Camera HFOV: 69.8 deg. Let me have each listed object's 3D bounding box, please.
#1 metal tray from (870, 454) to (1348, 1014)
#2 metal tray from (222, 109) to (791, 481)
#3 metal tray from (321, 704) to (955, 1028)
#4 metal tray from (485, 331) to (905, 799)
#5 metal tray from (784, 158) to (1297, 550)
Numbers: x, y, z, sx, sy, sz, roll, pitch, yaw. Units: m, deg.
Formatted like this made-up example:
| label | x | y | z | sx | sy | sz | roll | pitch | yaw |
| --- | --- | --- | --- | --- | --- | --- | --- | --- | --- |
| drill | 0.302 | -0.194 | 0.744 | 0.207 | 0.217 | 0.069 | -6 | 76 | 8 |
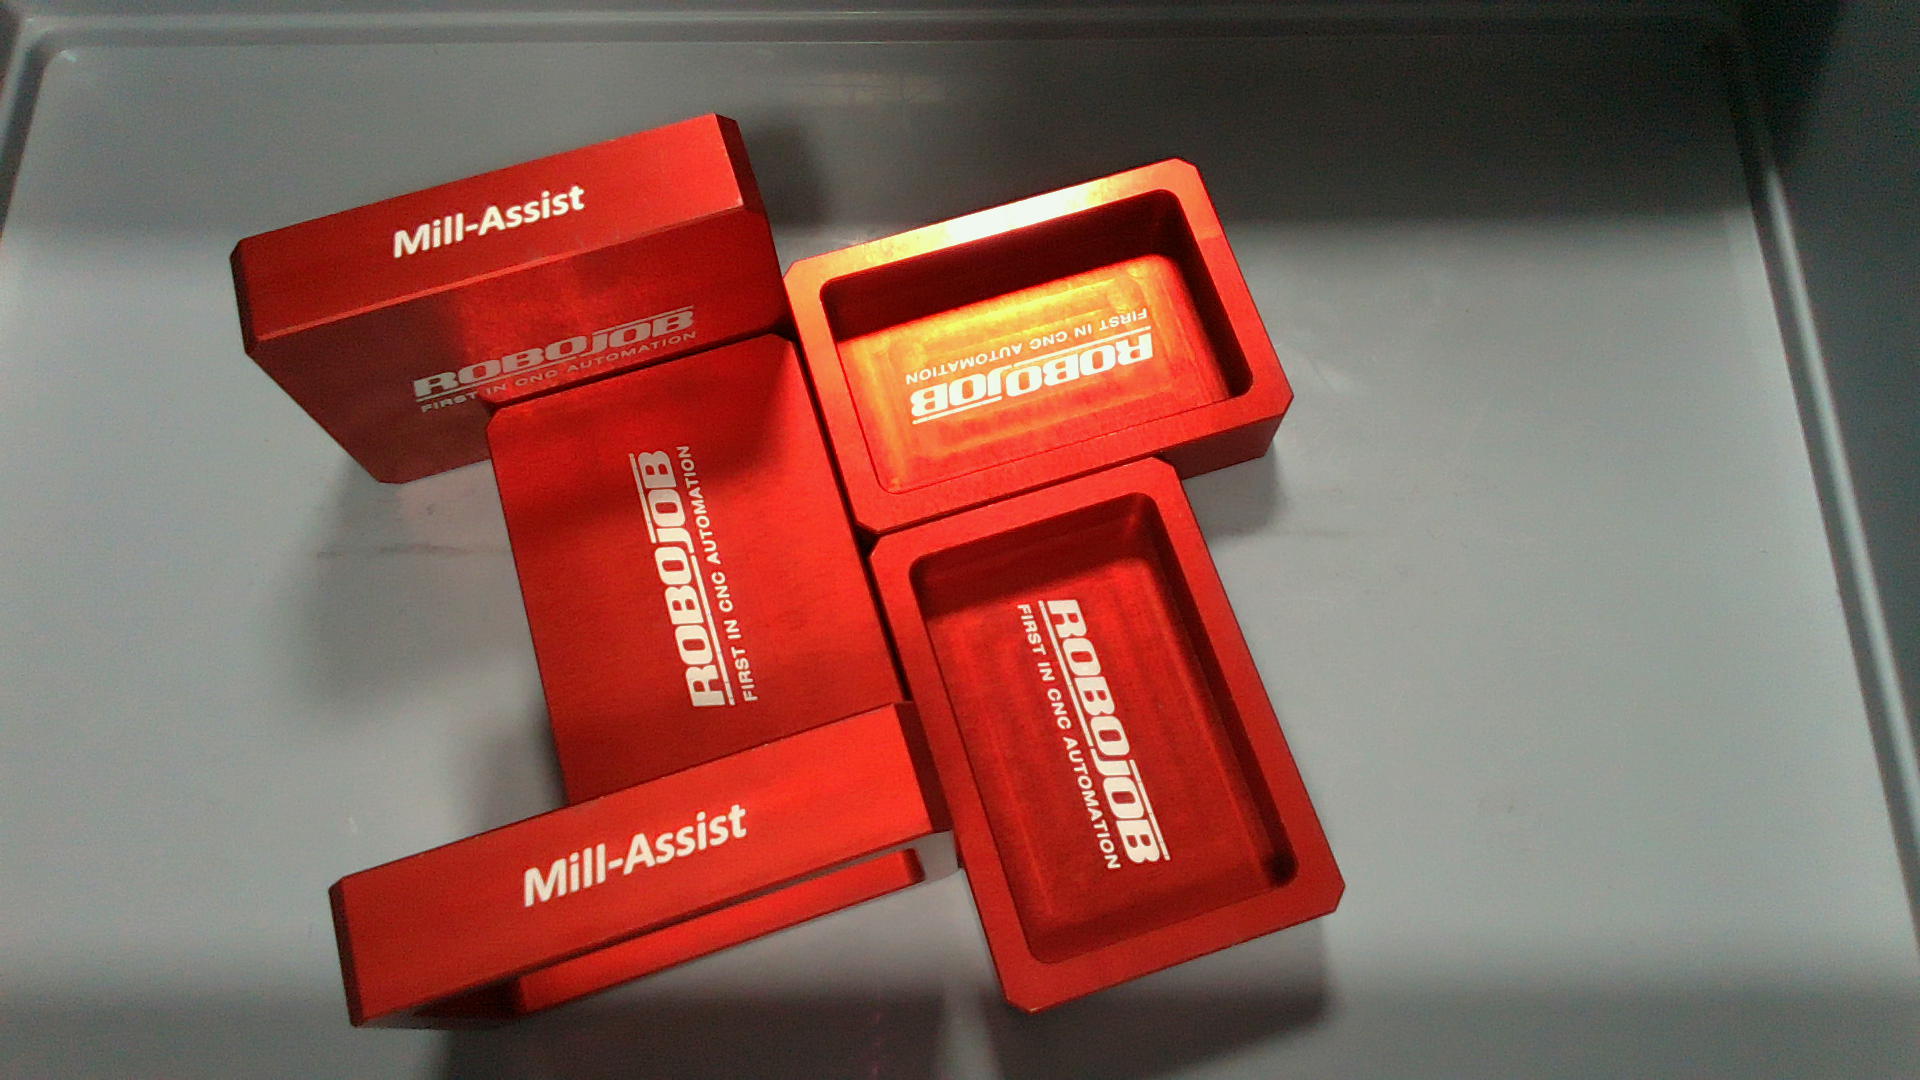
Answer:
| label | x | y | z | sx | sy | sz | roll | pitch | yaw |
| --- | --- | --- | --- | --- | --- | --- | --- | --- | --- |
| metal tray | 0.036 | 0.050 | 0.372 | 0.090 | 0.030 | 0.130 | -16 | 71 | -6 |
| metal tray | -0.116 | -0.064 | 0.380 | 0.130 | 0.090 | 0.030 | -17 | 71 | -6 |
| metal tray | -0.067 | 0.081 | 0.328 | 0.130 | 0.090 | 0.030 | -16 | 71 | -6 |
| metal tray | -0.072 | 0.014 | 0.384 | 0.090 | 0.030 | 0.130 | -16 | 71 | -6 |
| metal tray | 0.022 | -0.054 | 0.410 | 0.130 | 0.030 | 0.090 | -16 | 71 | -6 |
